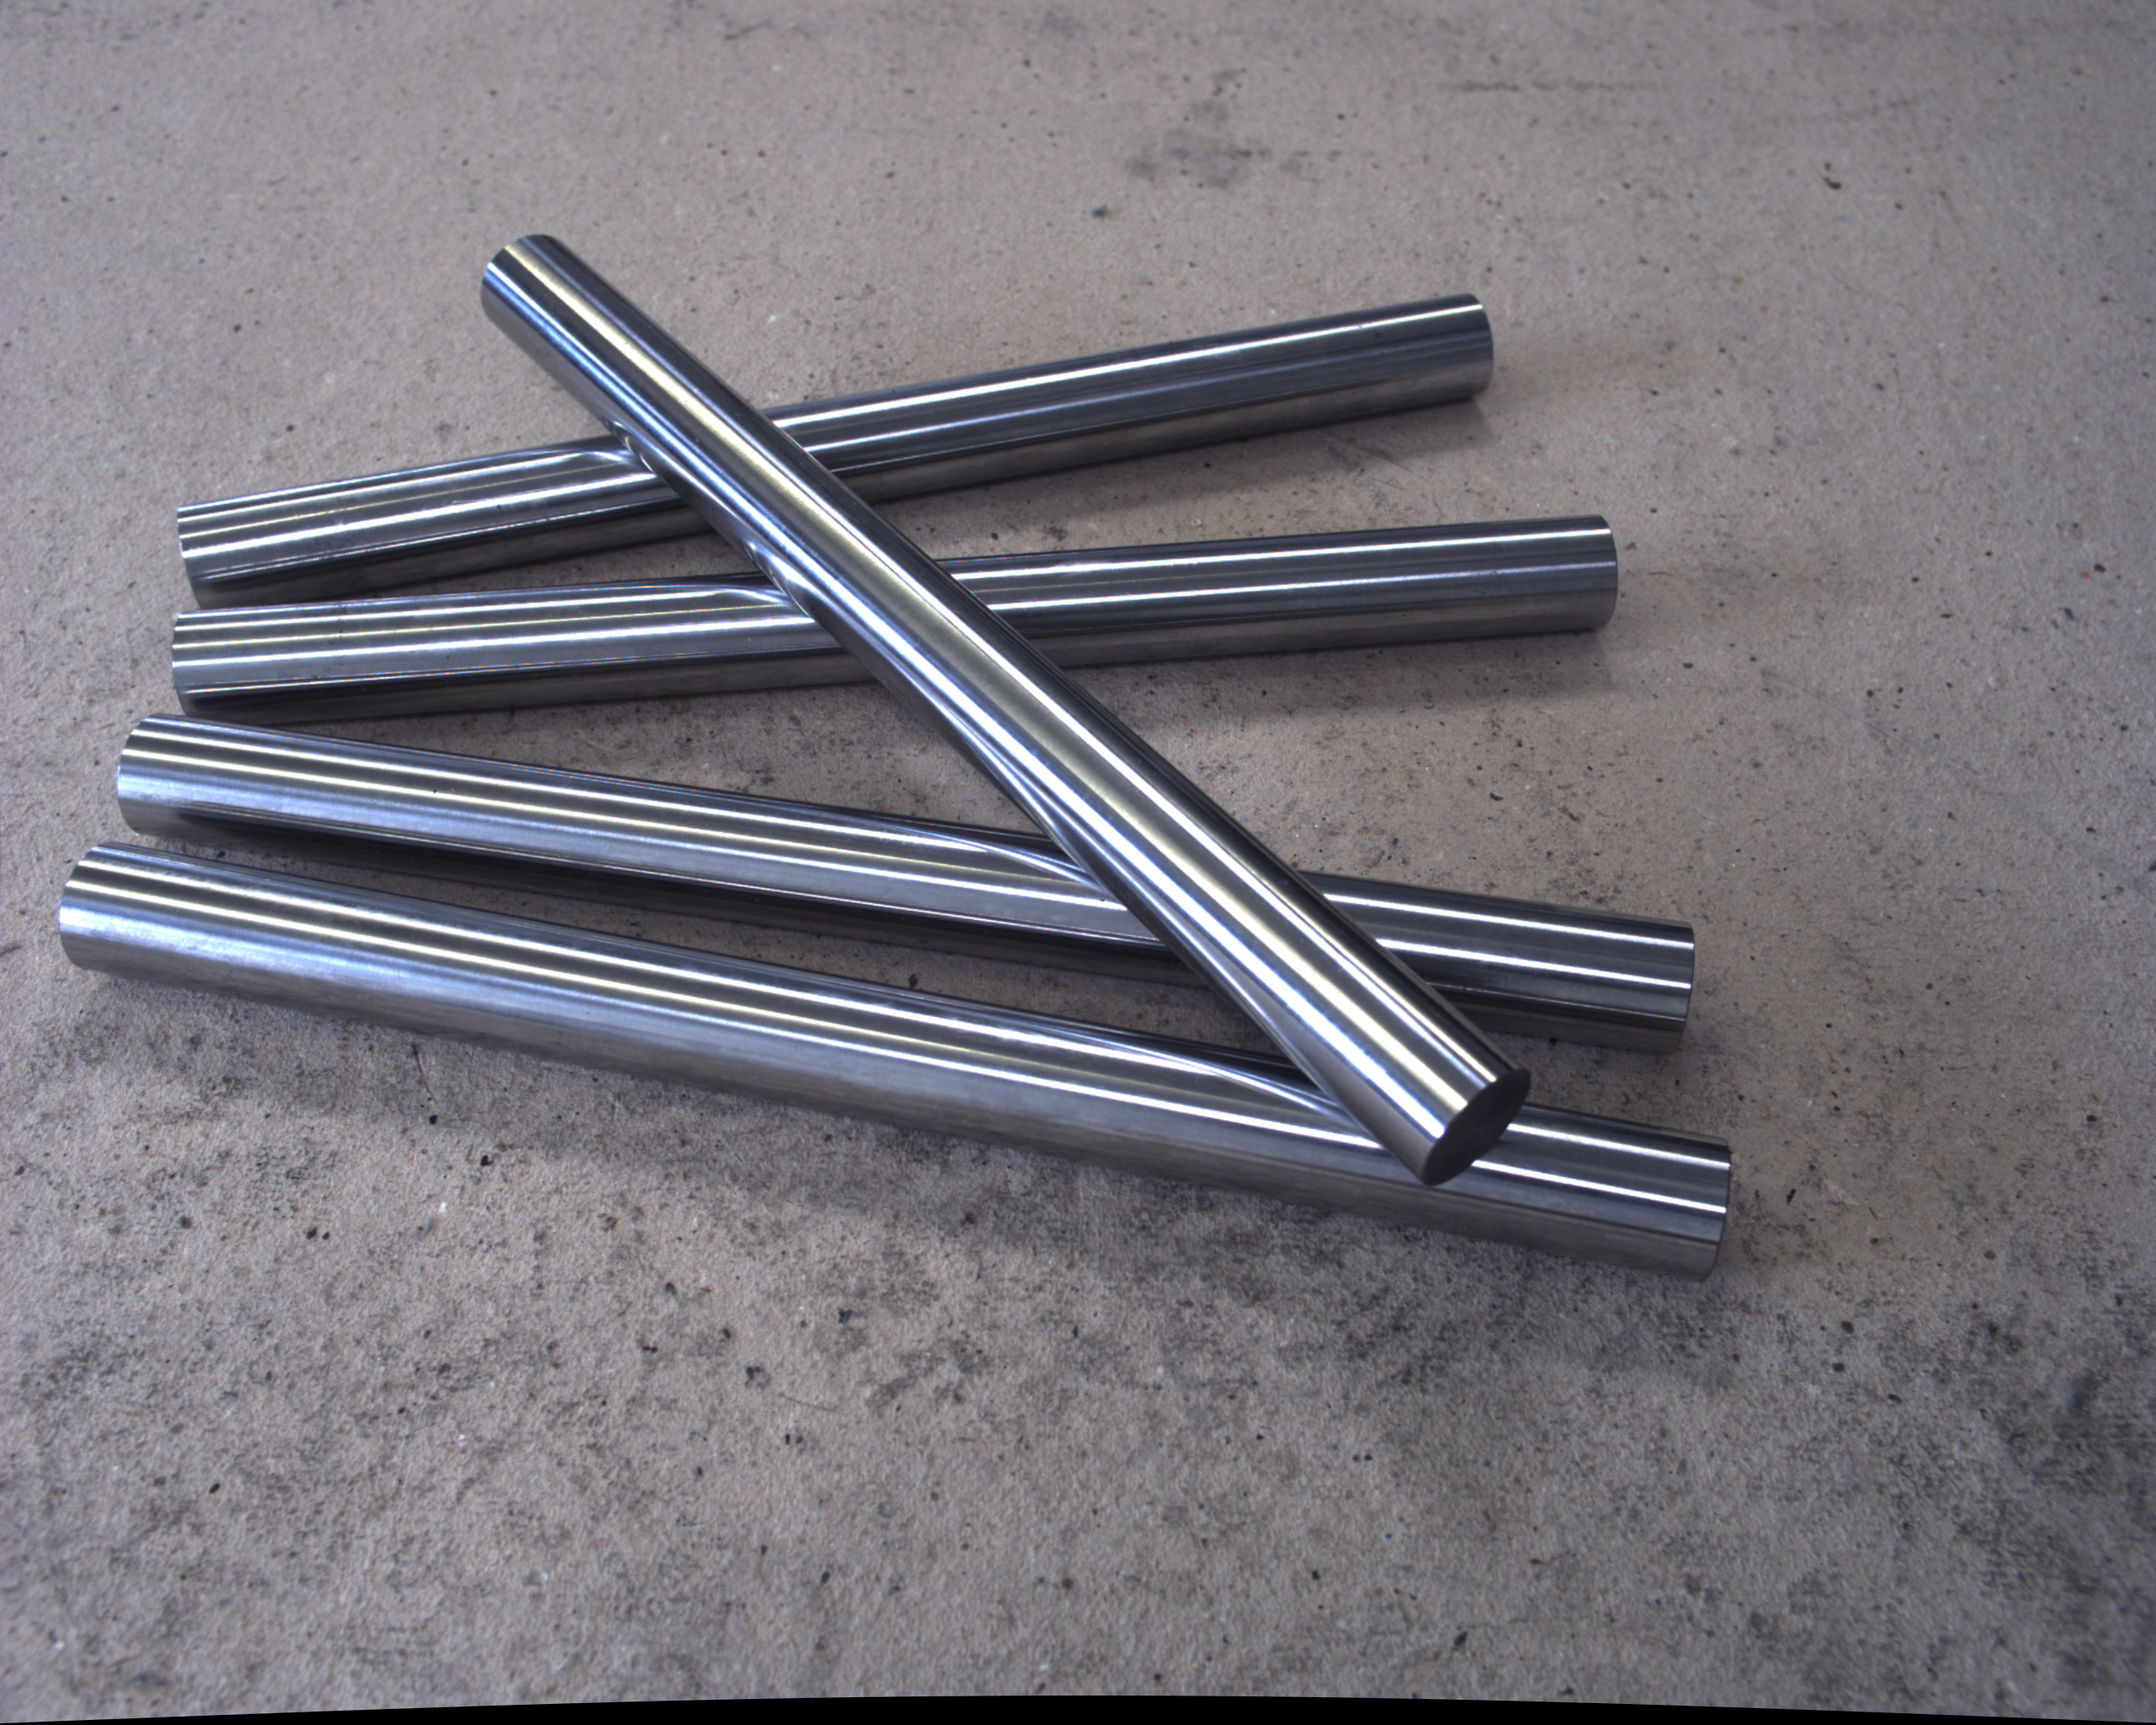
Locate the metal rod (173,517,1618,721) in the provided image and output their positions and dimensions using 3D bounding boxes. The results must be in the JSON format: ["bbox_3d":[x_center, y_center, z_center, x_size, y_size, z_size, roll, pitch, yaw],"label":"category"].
[{"bbox_3d":[-0.035,-0.052,0.449,0.302,0.025,0.025,-4,50,-4],"label":"metal rod"}]

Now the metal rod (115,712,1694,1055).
[{"bbox_3d":[-0.037,0.003,0.402,0.302,0.025,0.025,8,51,6],"label":"metal rod"}]

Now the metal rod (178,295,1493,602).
[{"bbox_3d":[-0.049,-0.097,0.486,0.302,0.025,0.025,-12,51,-10],"label":"metal rod"}]

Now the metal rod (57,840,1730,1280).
[{"bbox_3d":[-0.039,0.033,0.376,0.301,0.025,0.025,10,51,8],"label":"metal rod"}]

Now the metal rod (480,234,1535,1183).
[{"bbox_3d":[-0.031,-0.046,0.410,0.025,0.025,0.300,-33,57,-24],"label":"metal rod"}]
